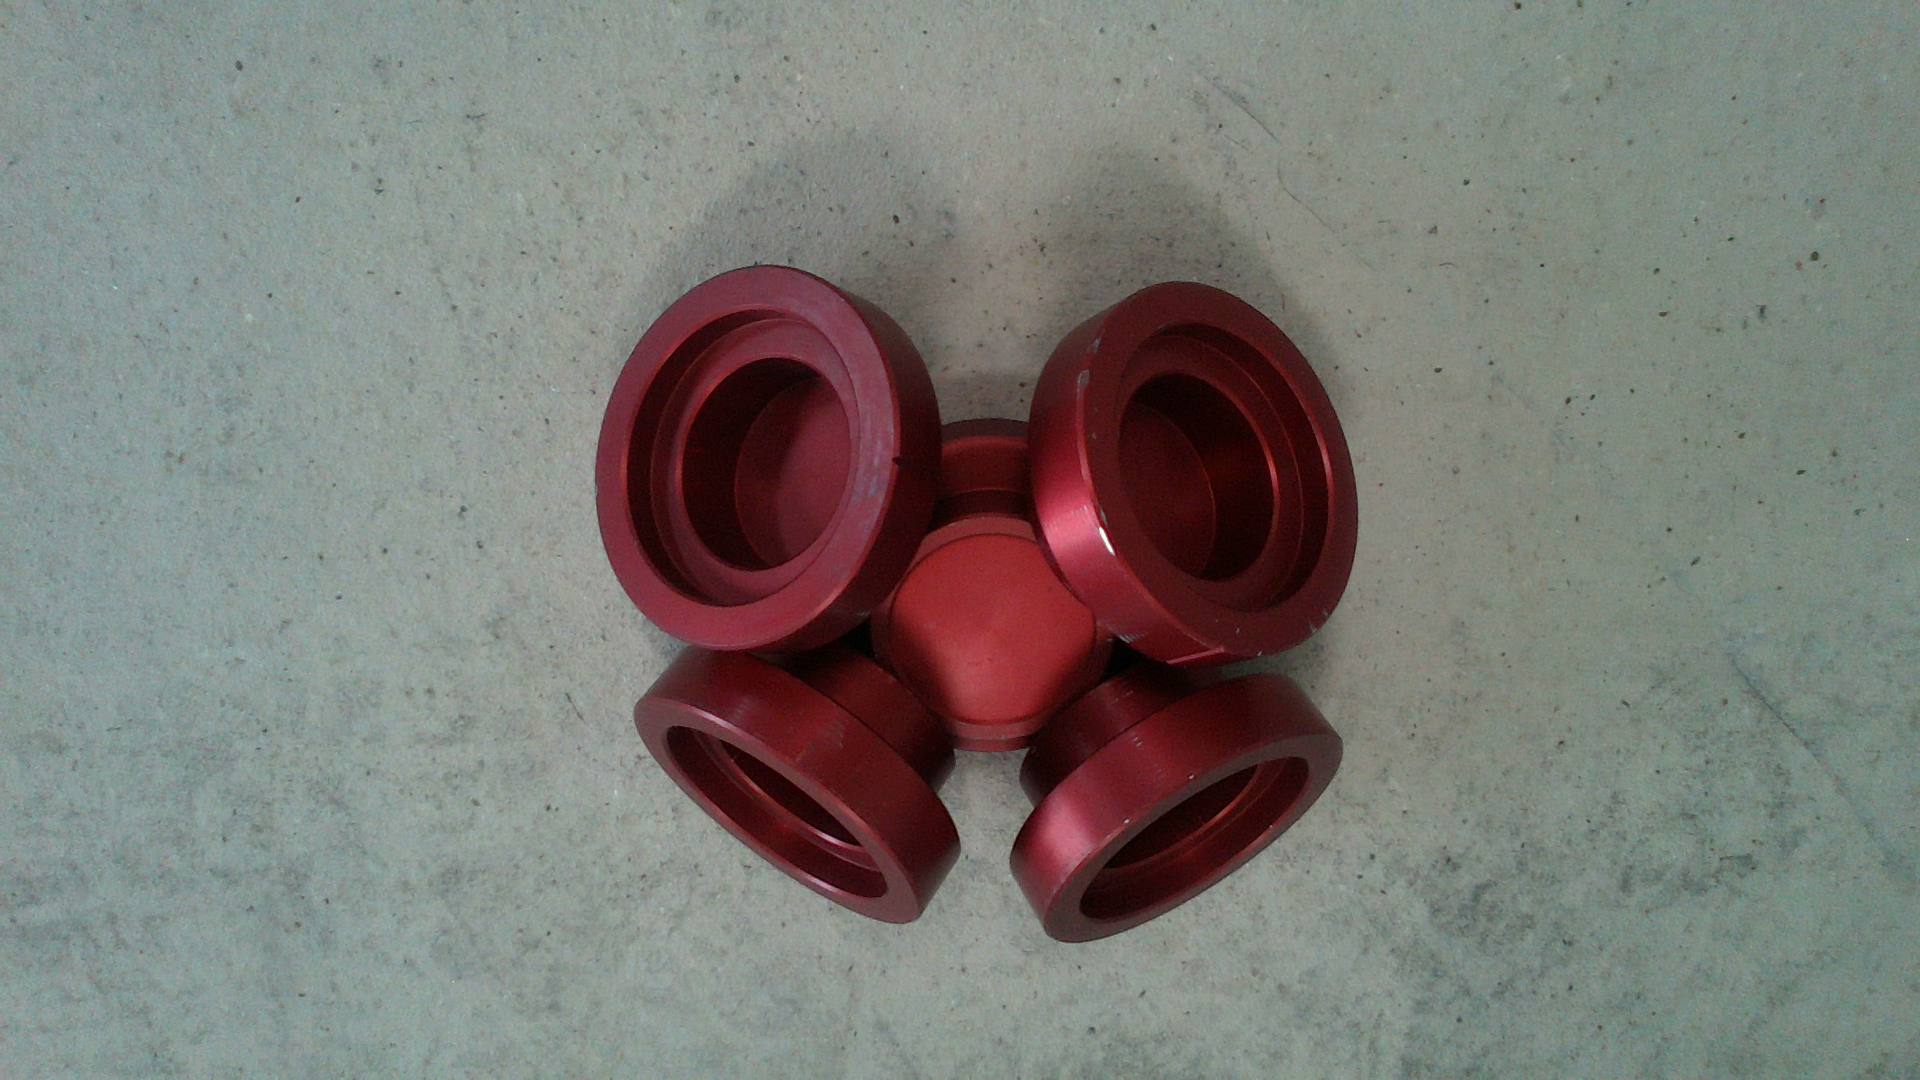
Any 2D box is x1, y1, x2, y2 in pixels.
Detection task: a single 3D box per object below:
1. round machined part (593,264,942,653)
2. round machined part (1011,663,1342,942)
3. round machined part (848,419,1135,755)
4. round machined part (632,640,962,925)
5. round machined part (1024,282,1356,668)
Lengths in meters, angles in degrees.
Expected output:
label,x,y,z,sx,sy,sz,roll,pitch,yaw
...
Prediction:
label,x,y,z,sx,sy,sz,roll,pitch,yaw
round machined part,-0.046,-0.019,0.361,0.098,0.042,0.098,-5,80,30
round machined part,0.057,0.070,0.394,0.098,0.042,0.098,-24,148,-16
round machined part,0.009,0.018,0.391,0.098,0.042,0.098,0,108,-1
round machined part,-0.041,0.062,0.389,0.098,0.098,0.042,45,61,-15
round machined part,0.056,-0.014,0.362,0.098,0.098,0.042,48,144,-15
